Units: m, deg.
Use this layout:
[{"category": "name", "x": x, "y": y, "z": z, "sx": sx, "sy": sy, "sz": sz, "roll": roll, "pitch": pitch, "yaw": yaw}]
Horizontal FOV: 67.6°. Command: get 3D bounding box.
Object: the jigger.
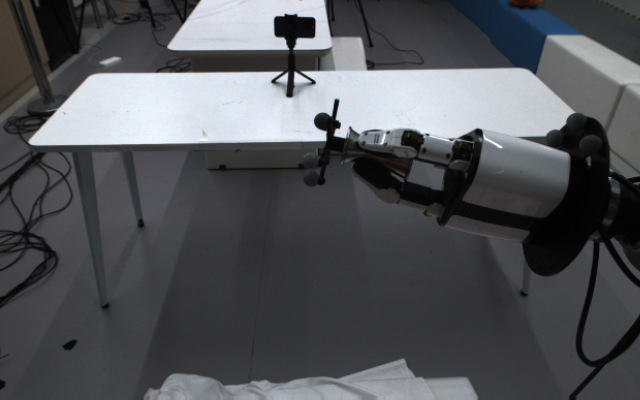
[{"category": "jigger", "x": 0.065, "y": -0.050, "z": 0.491, "sx": 0.071, "sy": 0.043, "sz": 0.043, "roll": 13, "pitch": 36, "yaw": 4}]
